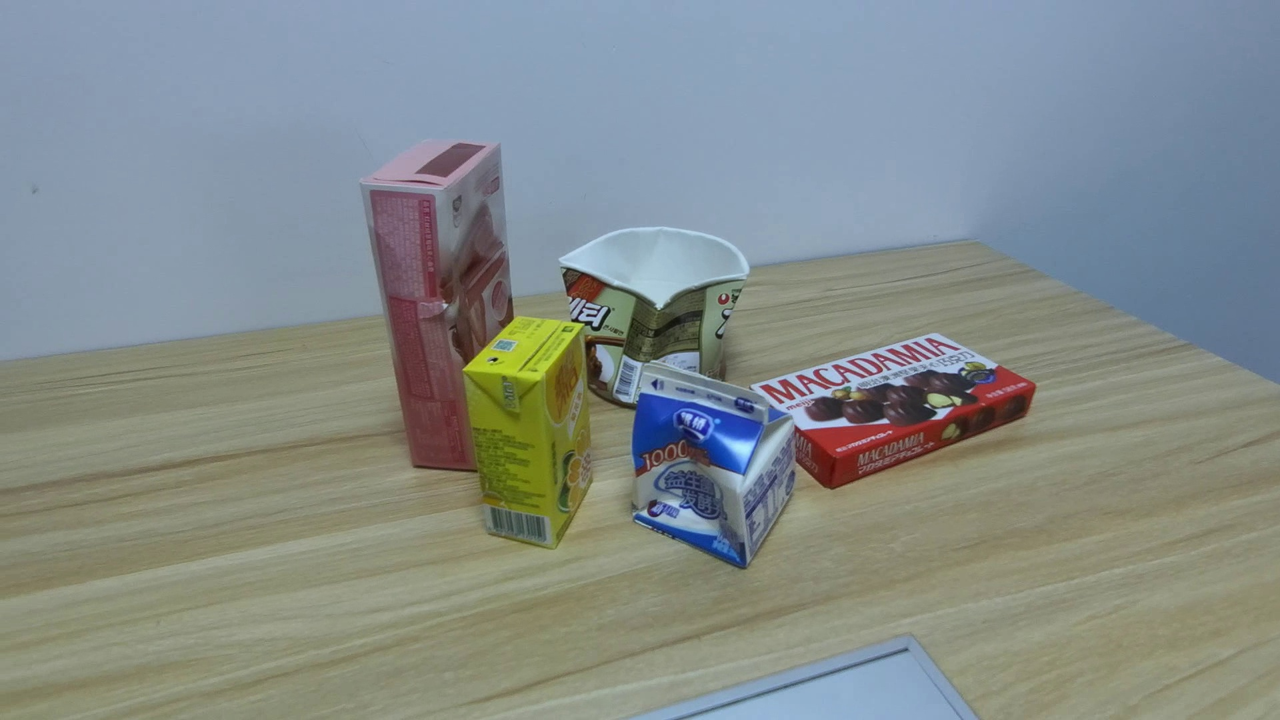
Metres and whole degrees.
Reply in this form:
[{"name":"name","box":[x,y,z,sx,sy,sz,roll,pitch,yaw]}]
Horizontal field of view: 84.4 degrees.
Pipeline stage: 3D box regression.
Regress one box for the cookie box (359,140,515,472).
[{"name":"cookie box","box":[-0.115,-0.031,0.436,0.049,0.187,0.105,3,29,6]}]

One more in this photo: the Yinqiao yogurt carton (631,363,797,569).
[{"name":"Yinqiao yogurt carton","box":[0.039,0.047,0.387,0.077,0.094,0.071,16,38,29]}]

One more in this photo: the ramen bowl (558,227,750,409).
[{"name":"ramen bowl","box":[0.018,-0.036,0.532,0.137,0.098,0.137,2,29,-1]}]

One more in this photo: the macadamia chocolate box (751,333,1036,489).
[{"name":"macadamia chocolate box","box":[0.174,0.028,0.491,0.178,0.027,0.095,-14,32,-22]}]

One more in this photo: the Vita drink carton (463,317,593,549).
[{"name":"Vita drink carton","box":[-0.058,0.039,0.393,0.043,0.109,0.066,7,30,15]}]
